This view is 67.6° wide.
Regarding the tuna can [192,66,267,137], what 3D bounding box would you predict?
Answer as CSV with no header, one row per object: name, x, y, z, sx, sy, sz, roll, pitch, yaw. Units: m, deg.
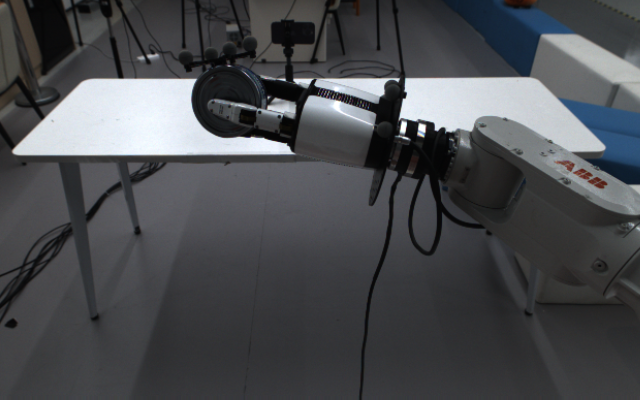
tuna can,-0.104,-0.112,0.575,0.085,0.085,0.034,6,18,5
